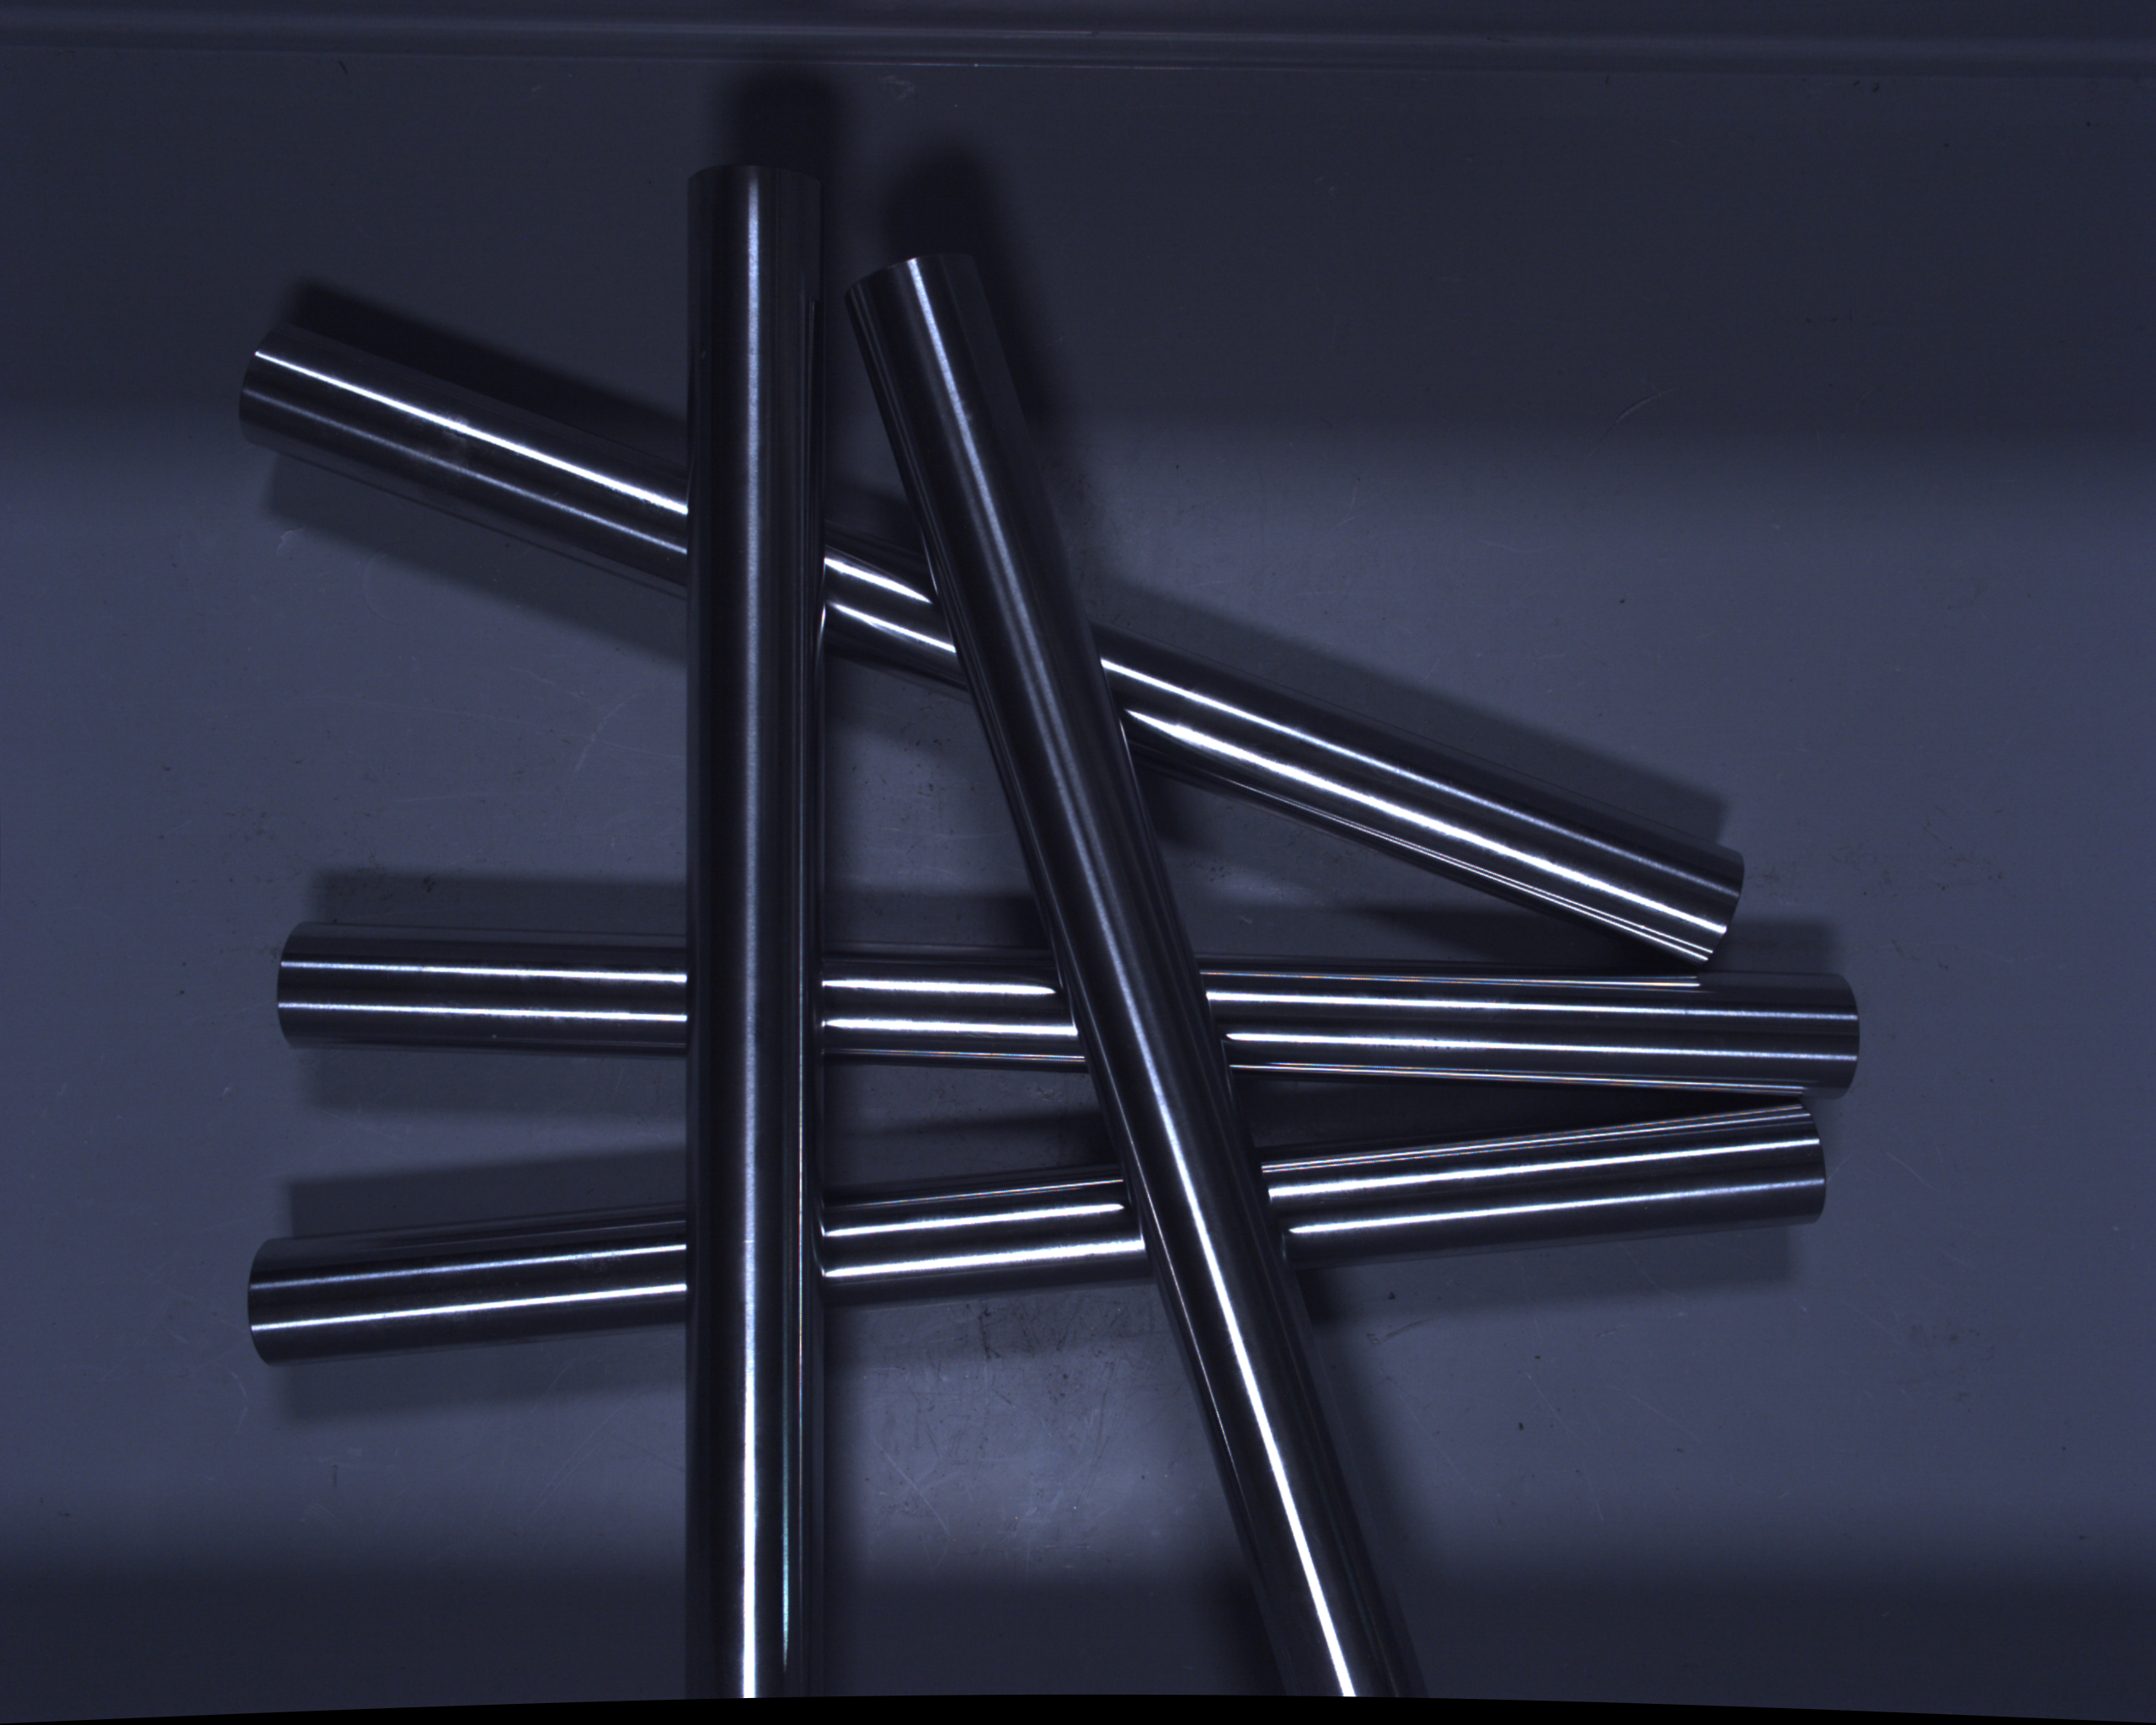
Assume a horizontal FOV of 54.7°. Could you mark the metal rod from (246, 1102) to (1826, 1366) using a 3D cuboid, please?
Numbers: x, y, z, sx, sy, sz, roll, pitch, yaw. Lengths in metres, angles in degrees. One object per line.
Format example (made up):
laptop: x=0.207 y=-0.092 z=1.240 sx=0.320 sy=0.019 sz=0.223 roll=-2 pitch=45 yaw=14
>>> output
metal rod: x=-0.007 y=0.073 z=0.410 sx=0.302 sy=0.025 sz=0.025 roll=-5 pitch=90 yaw=-1

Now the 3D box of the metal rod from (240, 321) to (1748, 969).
metal rod: x=-0.016 y=-0.042 z=0.409 sx=0.302 sy=0.025 sz=0.025 roll=20 pitch=90 yaw=-1

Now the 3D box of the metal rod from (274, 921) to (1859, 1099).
metal rod: x=-0.001 y=0.029 z=0.409 sx=0.302 sy=0.025 sz=0.025 roll=2 pitch=90 yaw=-1

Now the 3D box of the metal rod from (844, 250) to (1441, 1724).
metal rod: x=0.014 y=0.034 z=0.385 sx=0.025 sy=0.025 sz=0.298 roll=-18 pitch=90 yaw=0

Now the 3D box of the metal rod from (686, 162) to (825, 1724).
metal rod: x=-0.059 y=0.024 z=0.383 sx=0.025 sy=0.025 sz=0.298 roll=0 pitch=90 yaw=-1
